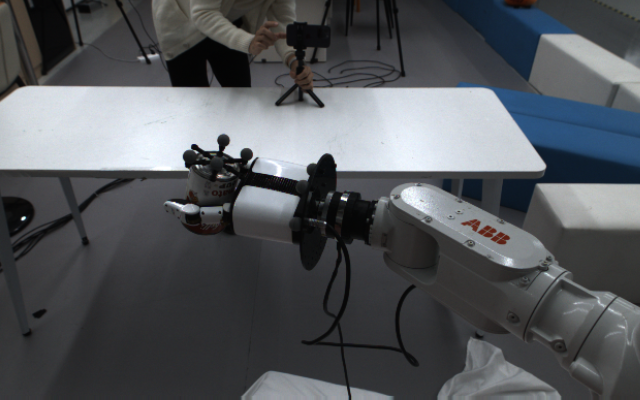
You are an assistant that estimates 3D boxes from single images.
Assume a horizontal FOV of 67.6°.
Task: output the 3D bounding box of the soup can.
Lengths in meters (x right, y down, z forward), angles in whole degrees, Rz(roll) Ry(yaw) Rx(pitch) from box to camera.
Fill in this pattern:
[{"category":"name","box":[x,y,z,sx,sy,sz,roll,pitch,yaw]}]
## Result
[{"category":"soup can","box":[-0.154,-0.008,0.677,0.067,0.101,0.067,15,36,-11]}]
